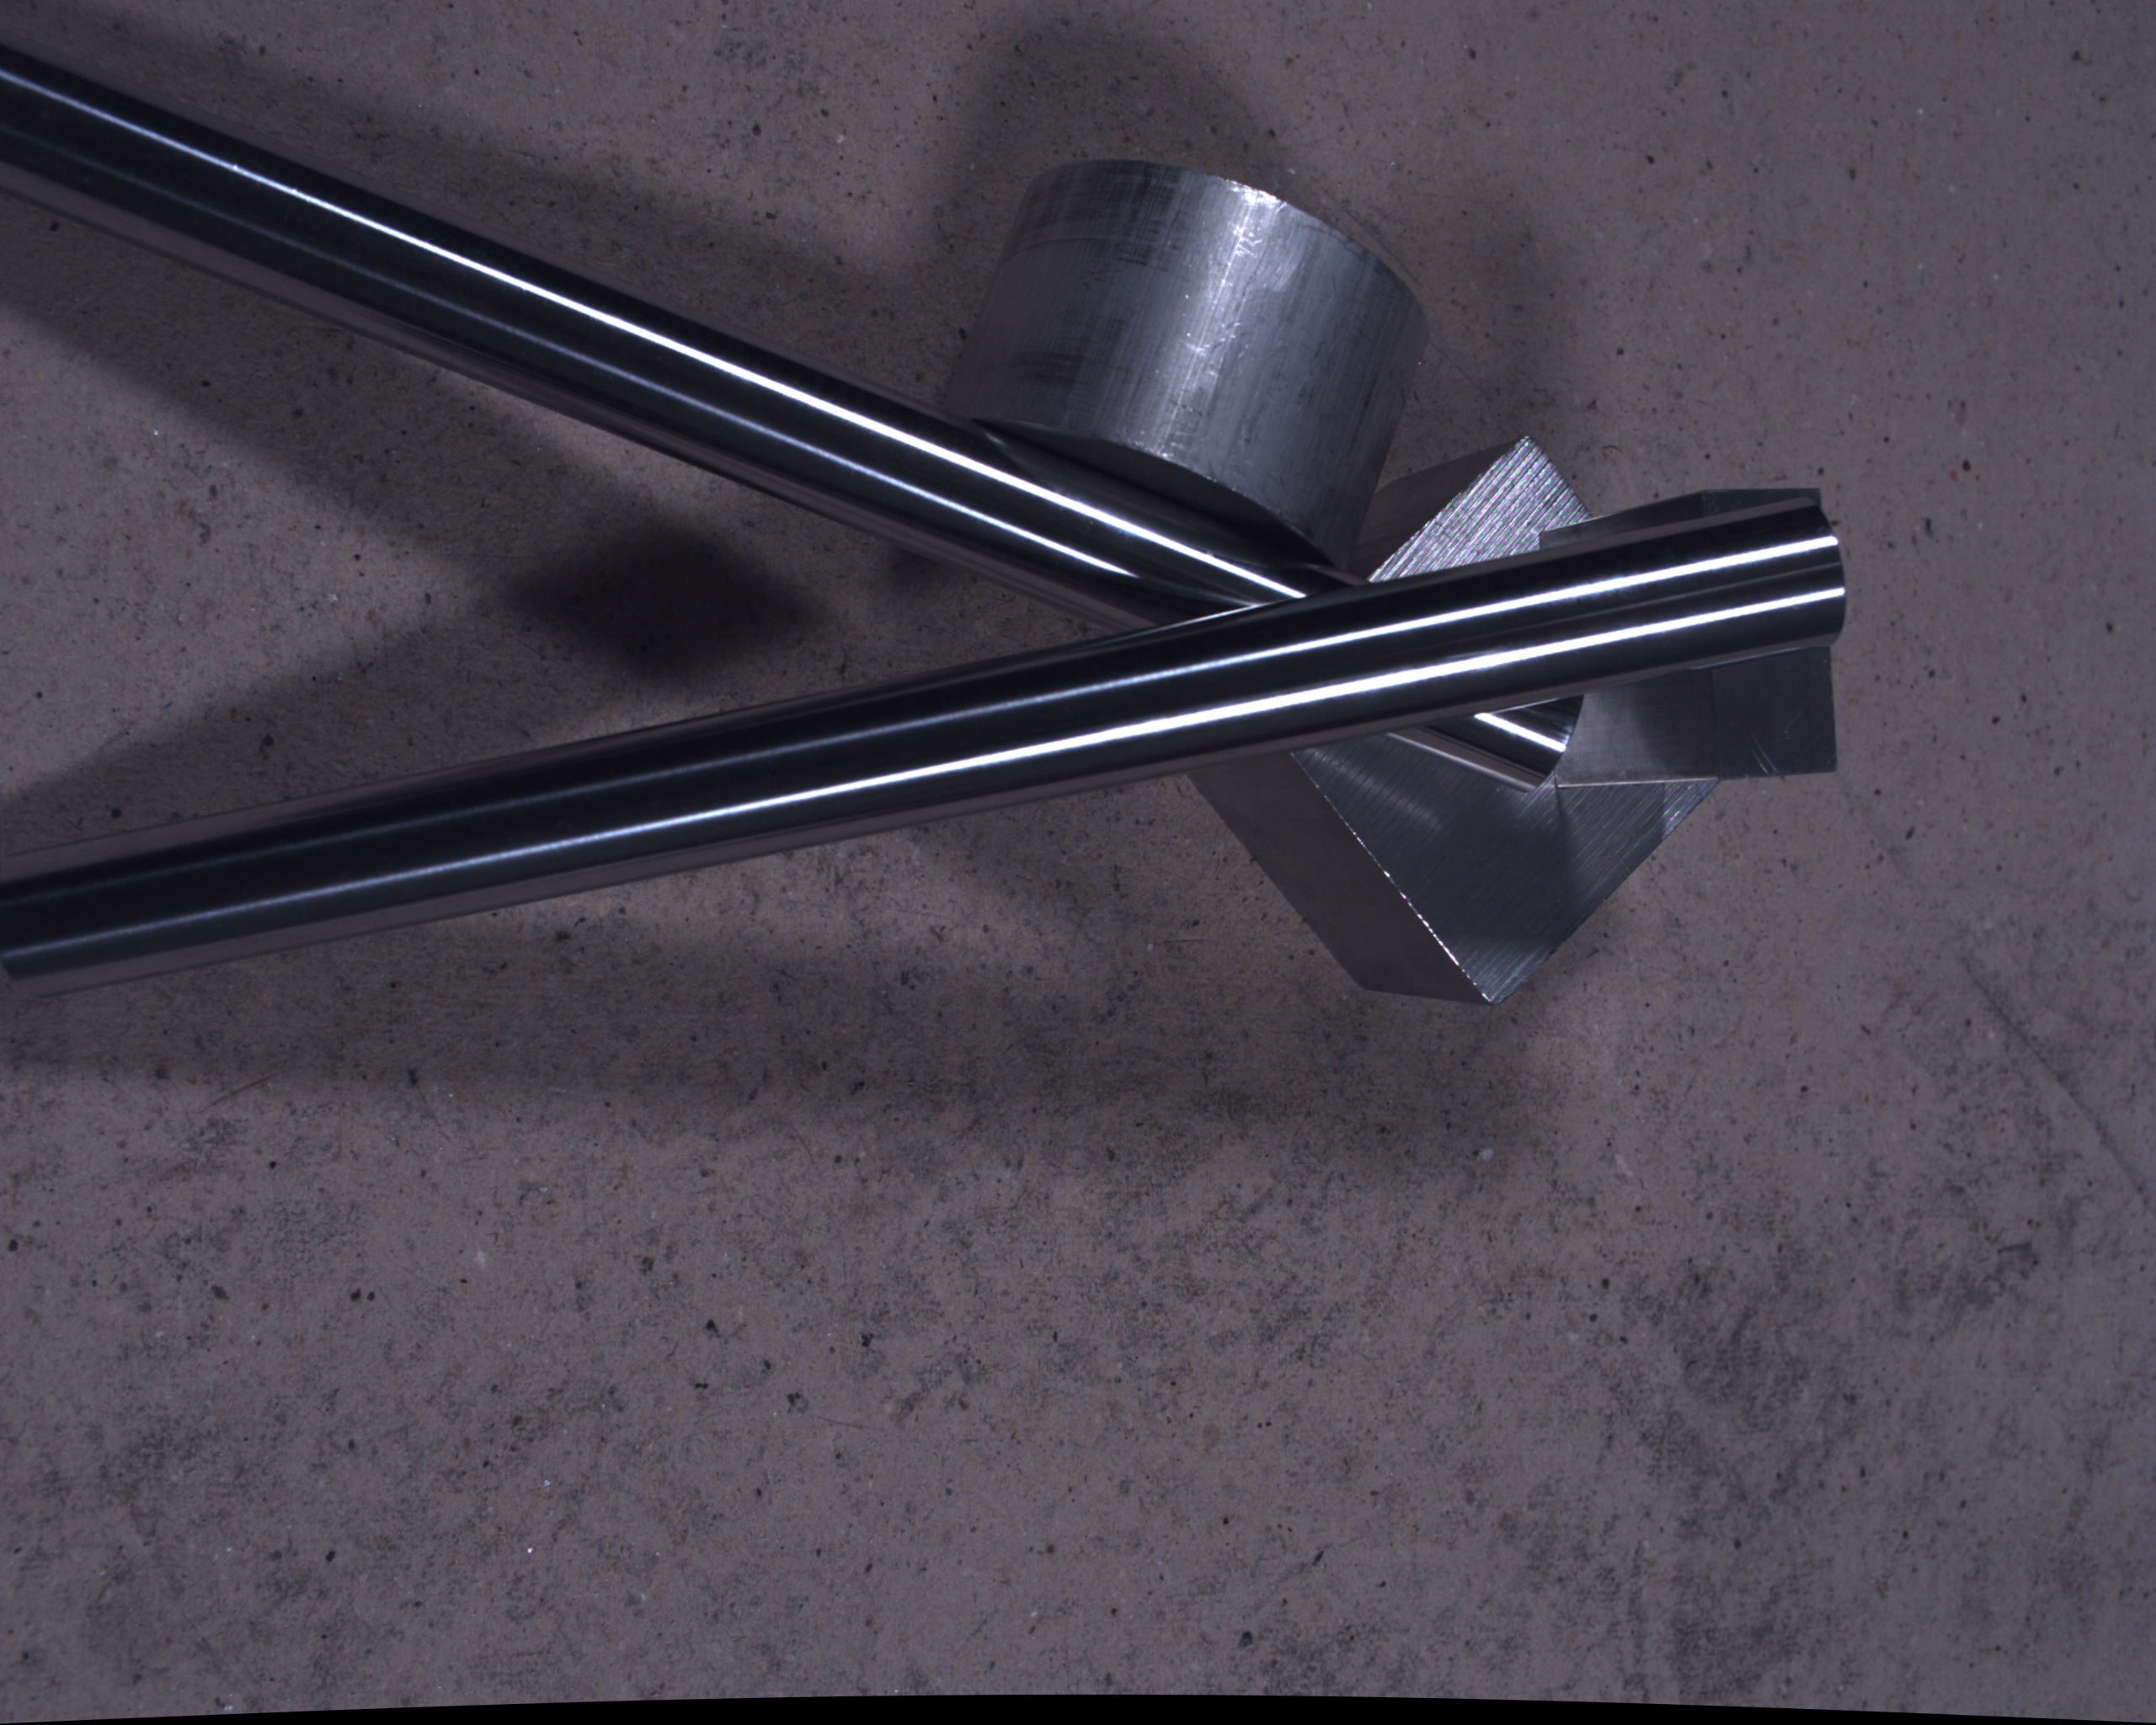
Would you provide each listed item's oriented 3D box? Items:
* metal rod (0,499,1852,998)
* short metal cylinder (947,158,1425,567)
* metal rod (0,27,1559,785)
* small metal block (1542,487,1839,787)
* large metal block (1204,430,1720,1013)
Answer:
[{"bbox_3d":[-0.026,-0.019,0.345,0.302,0.025,0.025,-11,94,1],"label":"metal rod"},{"bbox_3d":[0.018,-0.087,0.390,0.080,0.080,0.050,22,83,-19],"label":"short metal cylinder"},{"bbox_3d":[-0.057,-0.078,0.359,0.302,0.025,0.025,21,83,-8],"label":"metal rod"},{"bbox_3d":[0.111,-0.040,0.383,0.025,0.050,0.050,-4,92,-20],"label":"small metal block"},{"bbox_3d":[0.075,-0.028,0.424,0.080,0.050,0.080,-43,103,-14],"label":"large metal block"}]
